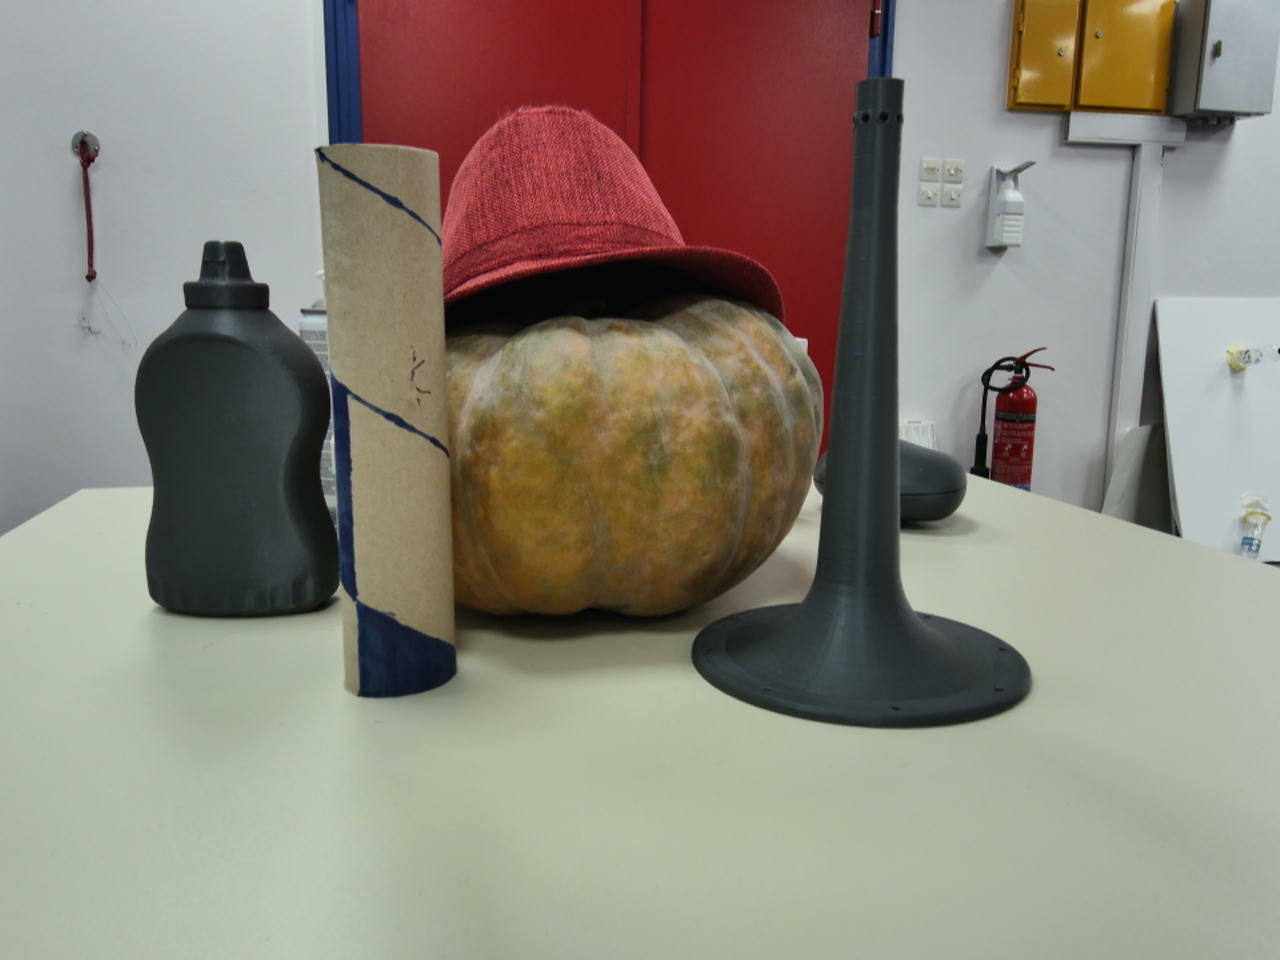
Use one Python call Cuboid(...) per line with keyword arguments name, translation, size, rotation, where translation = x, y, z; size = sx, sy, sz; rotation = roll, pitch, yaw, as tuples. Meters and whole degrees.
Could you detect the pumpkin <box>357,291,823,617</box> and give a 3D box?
Cuboid(name="pumpkin", translation=(-0.030, -0.018, 0.548), size=(0.252, 0.168, 0.252), rotation=(0, 8, 0))
